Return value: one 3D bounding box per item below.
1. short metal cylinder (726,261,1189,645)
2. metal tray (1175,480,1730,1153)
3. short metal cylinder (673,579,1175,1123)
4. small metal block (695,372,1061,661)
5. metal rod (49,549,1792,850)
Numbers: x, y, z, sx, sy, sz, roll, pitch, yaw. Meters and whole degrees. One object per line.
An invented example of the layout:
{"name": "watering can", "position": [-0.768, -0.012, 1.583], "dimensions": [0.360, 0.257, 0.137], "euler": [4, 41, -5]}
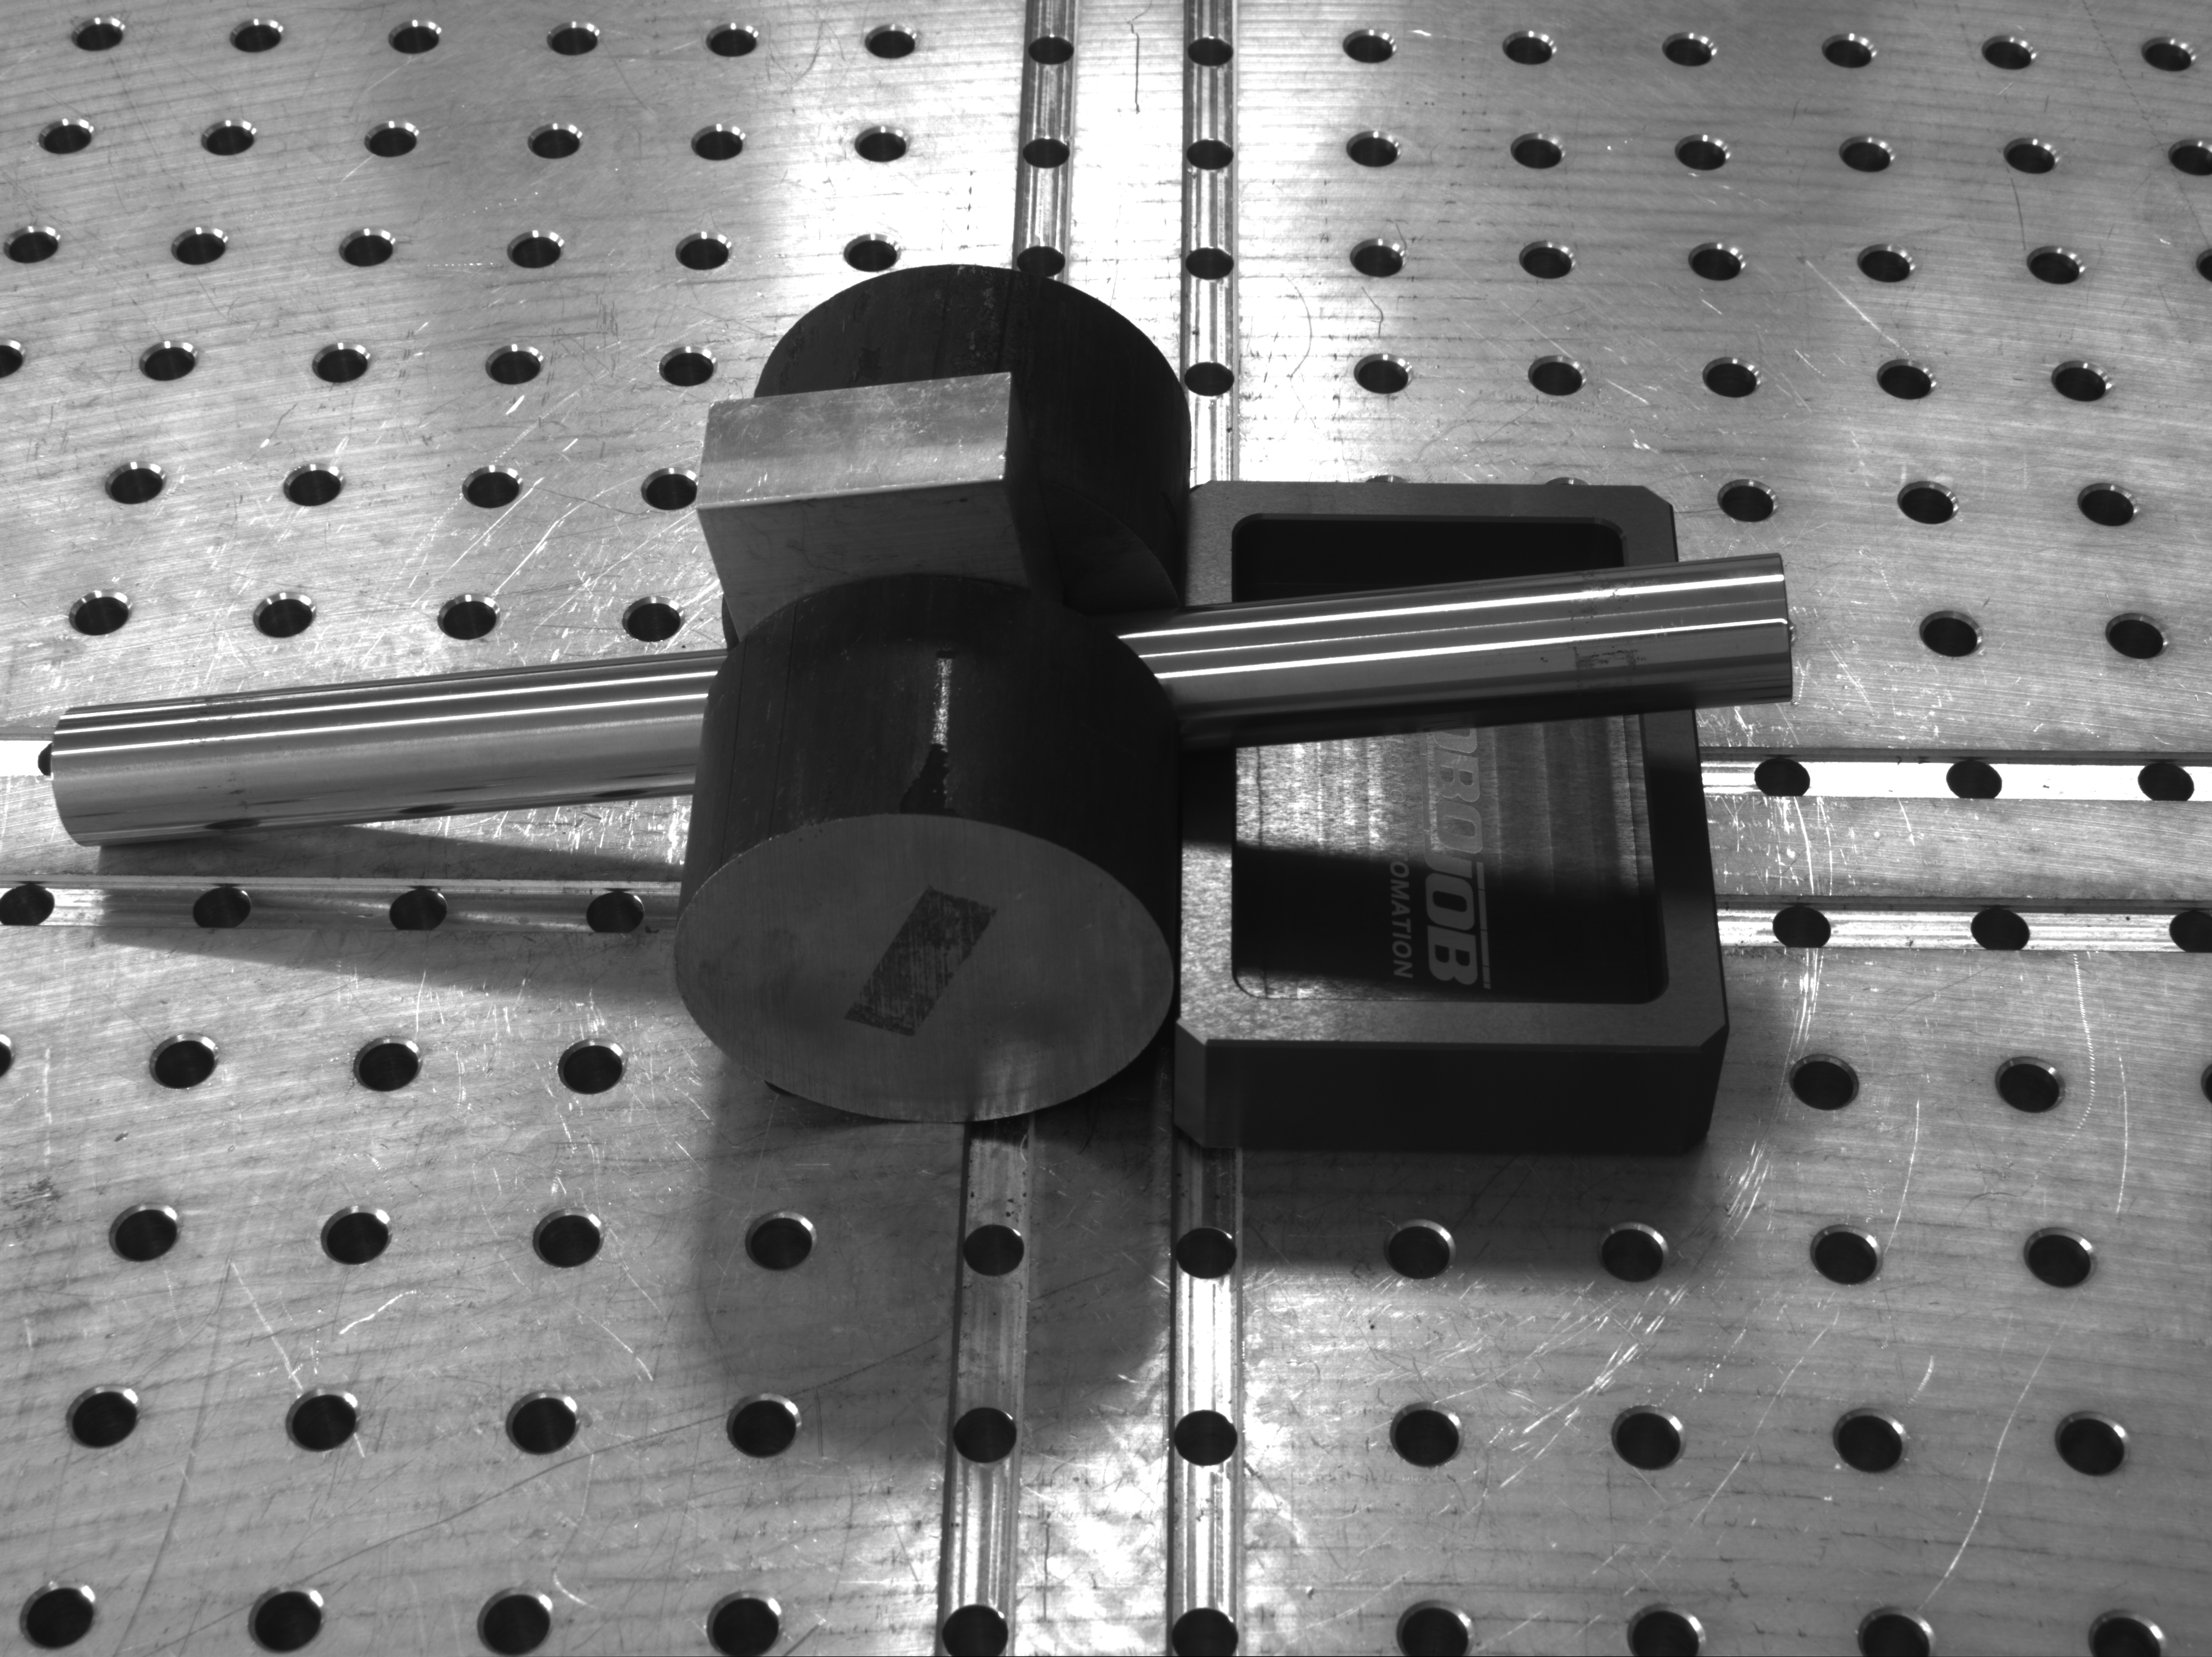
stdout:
{"name": "short metal cylinder", "position": [-0.025, -0.054, 0.653], "dimensions": [0.080, 0.080, 0.050], "euler": [1, 50, 1]}
{"name": "metal tray", "position": [0.058, -0.005, 0.646], "dimensions": [0.090, 0.030, 0.130], "euler": [1, 50, 1]}
{"name": "short metal cylinder", "position": [-0.029, 0.005, 0.605], "dimensions": [0.080, 0.080, 0.050], "euler": [1, 50, 1]}
{"name": "small metal block", "position": [-0.036, -0.046, 0.606], "dimensions": [0.050, 0.050, 0.025], "euler": [-5, 49, 7]}
{"name": "metal rod", "position": [-0.035, -0.021, 0.633], "dimensions": [0.300, 0.025, 0.025], "euler": [-5, 49, 8]}
